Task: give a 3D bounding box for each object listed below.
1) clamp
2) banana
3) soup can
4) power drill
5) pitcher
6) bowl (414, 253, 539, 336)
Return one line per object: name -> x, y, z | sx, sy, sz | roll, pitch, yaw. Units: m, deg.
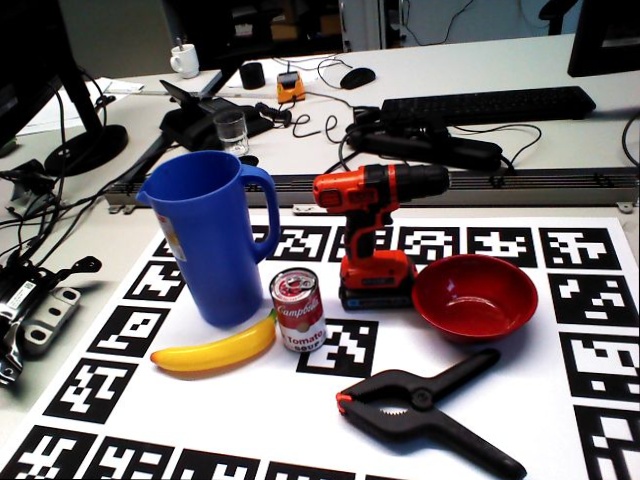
clamp -> 0.125, 0.177, 0.591 | 0.204, 0.037, 0.164 | -3, 42, 12
banana -> -0.146, 0.146, 0.719 | 0.197, 0.039, 0.074 | -16, 29, -7
soup can -> -0.022, 0.087, 0.706 | 0.068, 0.102, 0.067 | -8, 29, 4
power drill -> 0.100, -0.025, 0.712 | 0.185, 0.187, 0.057 | -4, 39, 10
pitcher -> -0.140, -0.005, 0.739 | 0.189, 0.243, 0.133 | -16, 35, -5
bowl -> 0.210, 0.075, 0.693 | 0.162, 0.055, 0.161 | -8, 39, 6
